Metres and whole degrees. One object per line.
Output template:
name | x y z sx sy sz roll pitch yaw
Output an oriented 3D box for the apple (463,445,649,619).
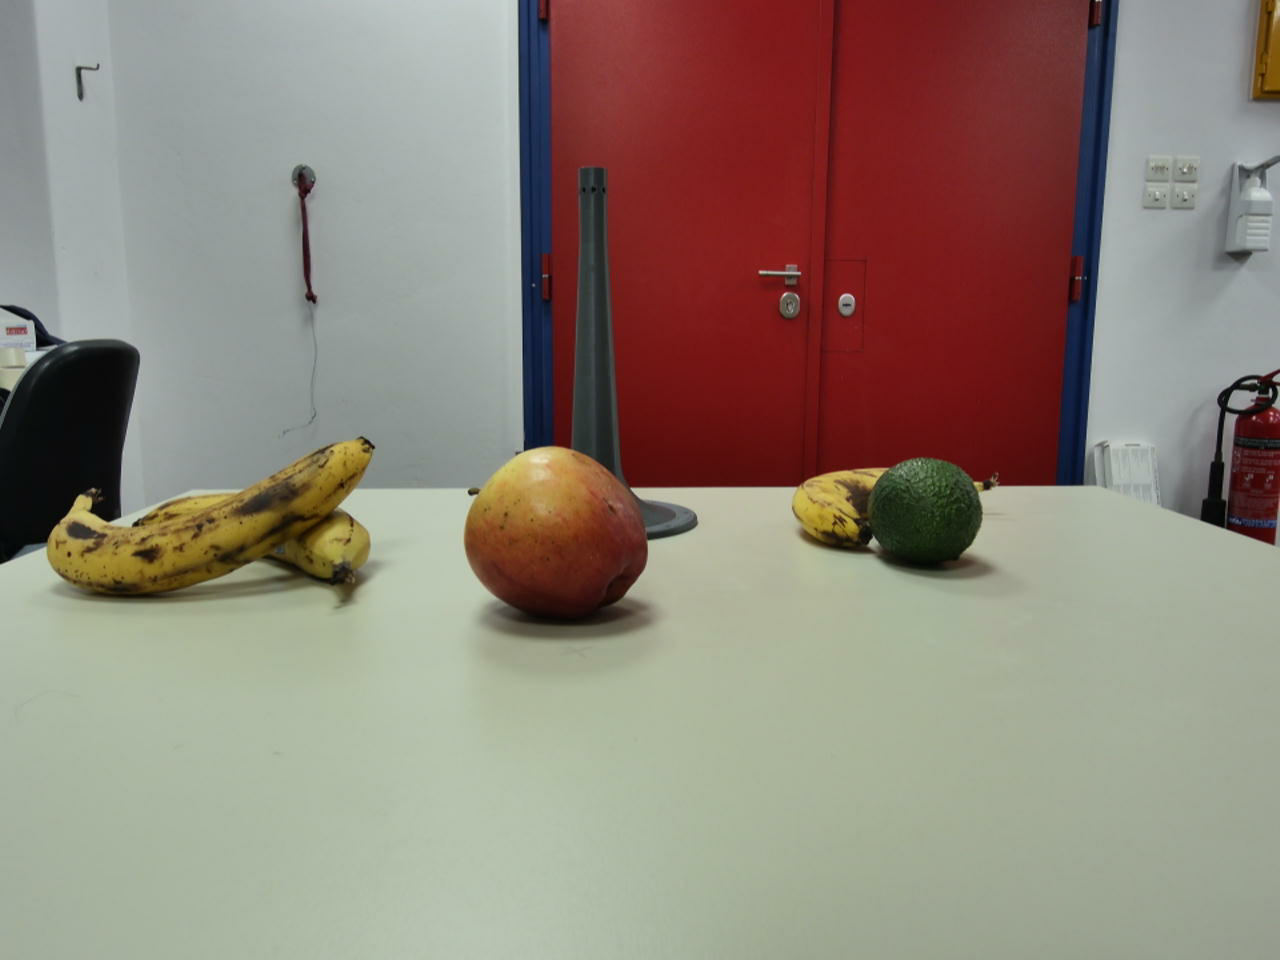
apple | -0.045 0.026 0.507 0.086 0.084 0.093 -4 8 -36
